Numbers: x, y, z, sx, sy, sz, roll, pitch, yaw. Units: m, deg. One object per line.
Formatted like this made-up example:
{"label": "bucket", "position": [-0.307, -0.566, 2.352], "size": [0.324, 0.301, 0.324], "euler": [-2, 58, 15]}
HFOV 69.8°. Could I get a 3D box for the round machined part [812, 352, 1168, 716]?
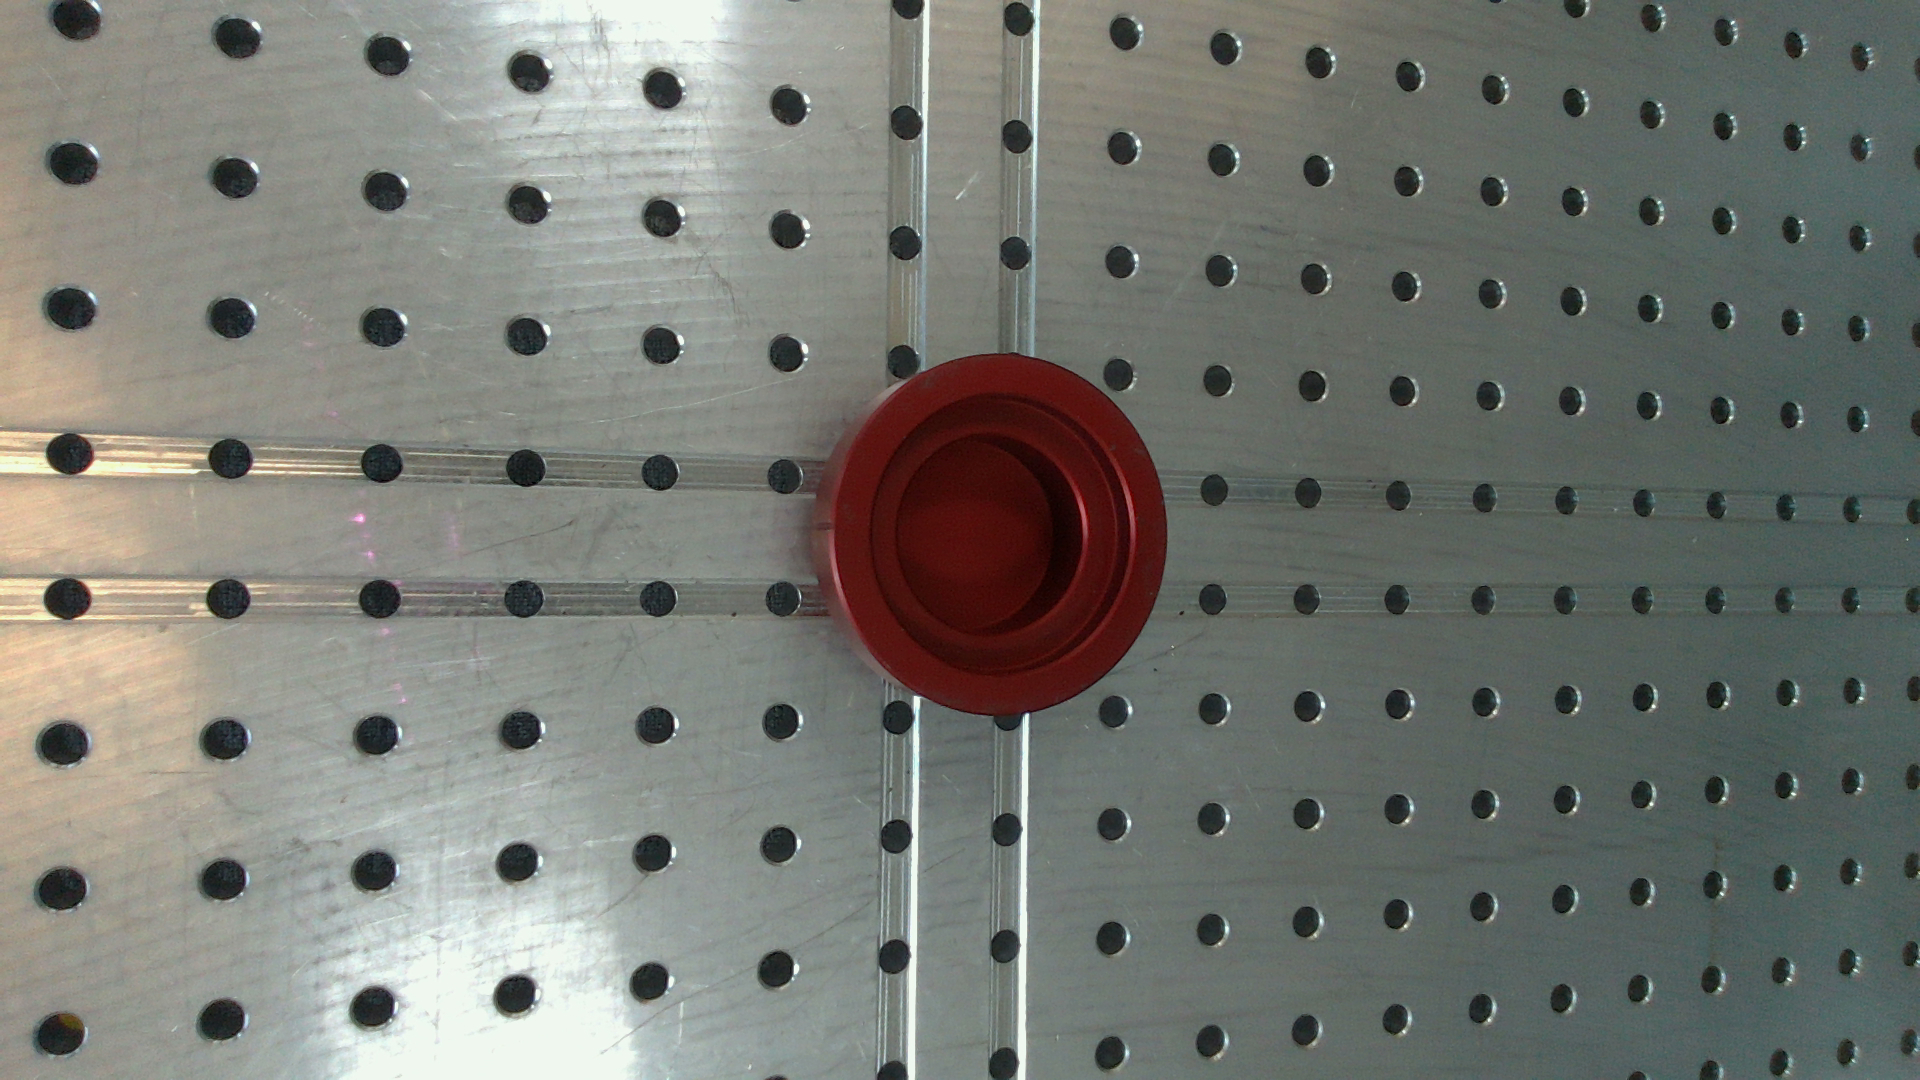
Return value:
{"label": "round machined part", "position": [0.006, -0.002, 0.388], "size": [0.098, 0.042, 0.098], "euler": [0, 90, -20]}
